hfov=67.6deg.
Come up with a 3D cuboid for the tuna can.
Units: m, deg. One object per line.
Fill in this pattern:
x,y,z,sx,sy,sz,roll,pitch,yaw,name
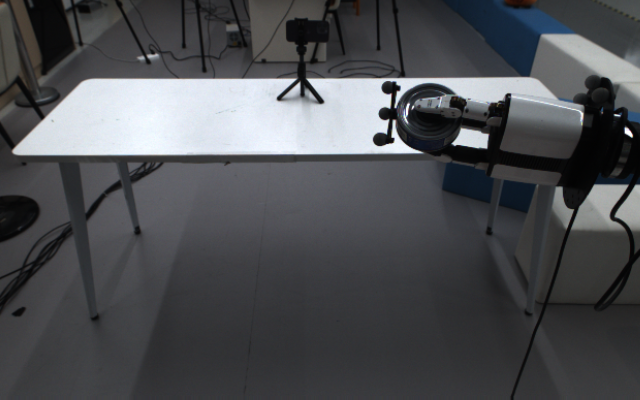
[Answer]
0.143,-0.111,0.632,0.085,0.034,0.085,-2,68,6,tuna can
